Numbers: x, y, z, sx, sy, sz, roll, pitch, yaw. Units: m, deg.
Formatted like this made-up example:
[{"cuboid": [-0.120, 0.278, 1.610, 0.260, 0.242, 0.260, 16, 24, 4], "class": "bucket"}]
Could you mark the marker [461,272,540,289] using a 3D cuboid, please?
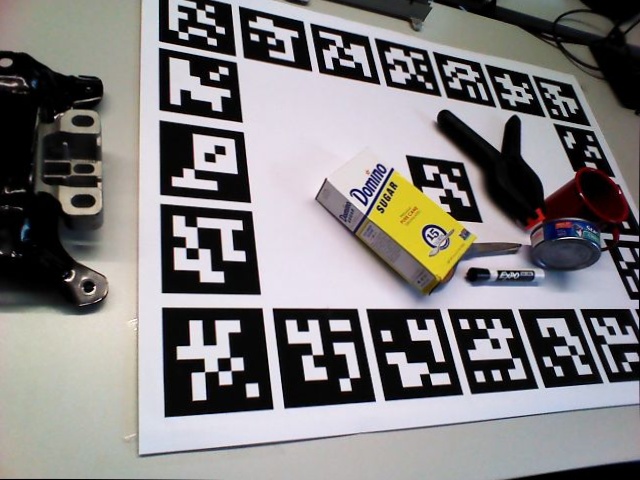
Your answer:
[{"cuboid": [0.233, 0.052, 0.668, 0.121, 0.020, 0.019, 0, 65, -24], "class": "marker"}]

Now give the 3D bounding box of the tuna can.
[{"cuboid": [0.335, 0.013, 0.696, 0.086, 0.086, 0.033, 19, 57, -14], "class": "tuna can"}]

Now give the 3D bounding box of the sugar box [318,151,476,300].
[{"cuboid": [0.092, -0.023, 0.621, 0.176, 0.045, 0.092, 46, 54, 11], "class": "sugar box"}]

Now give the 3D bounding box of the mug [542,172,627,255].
[{"cuboid": [0.381, -0.028, 0.746, 0.093, 0.082, 0.117, -25, 73, -33], "class": "mug"}]

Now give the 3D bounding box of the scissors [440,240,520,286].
[{"cuboid": [0.187, 0.011, 0.666, 0.202, 0.016, 0.087, -6, 63, -29], "class": "scissors"}]

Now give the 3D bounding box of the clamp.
[{"cuboid": [0.275, -0.102, 0.773, 0.165, 0.037, 0.202, -7, 68, -28], "class": "clamp"}]
